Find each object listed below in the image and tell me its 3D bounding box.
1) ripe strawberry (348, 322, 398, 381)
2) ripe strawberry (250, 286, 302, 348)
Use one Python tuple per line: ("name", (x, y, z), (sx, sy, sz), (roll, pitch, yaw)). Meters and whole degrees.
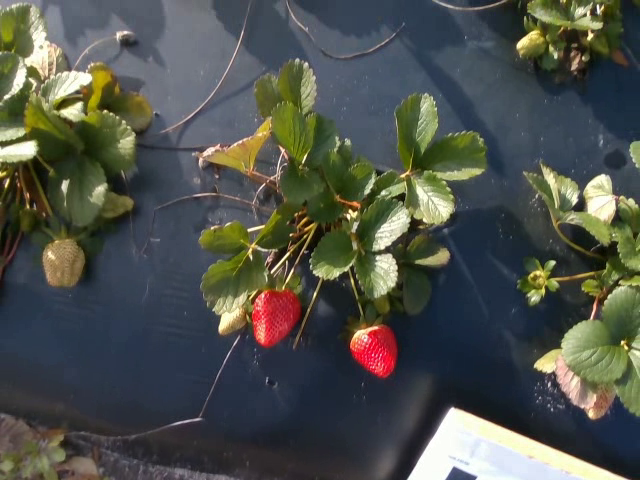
("ripe strawberry", (0.036, 0.070, 0.427), (0.033, 0.039, 0.038), (19, -45, -22))
("ripe strawberry", (-0.030, 0.047, 0.424), (0.035, 0.036, 0.041), (12, -34, 10))
